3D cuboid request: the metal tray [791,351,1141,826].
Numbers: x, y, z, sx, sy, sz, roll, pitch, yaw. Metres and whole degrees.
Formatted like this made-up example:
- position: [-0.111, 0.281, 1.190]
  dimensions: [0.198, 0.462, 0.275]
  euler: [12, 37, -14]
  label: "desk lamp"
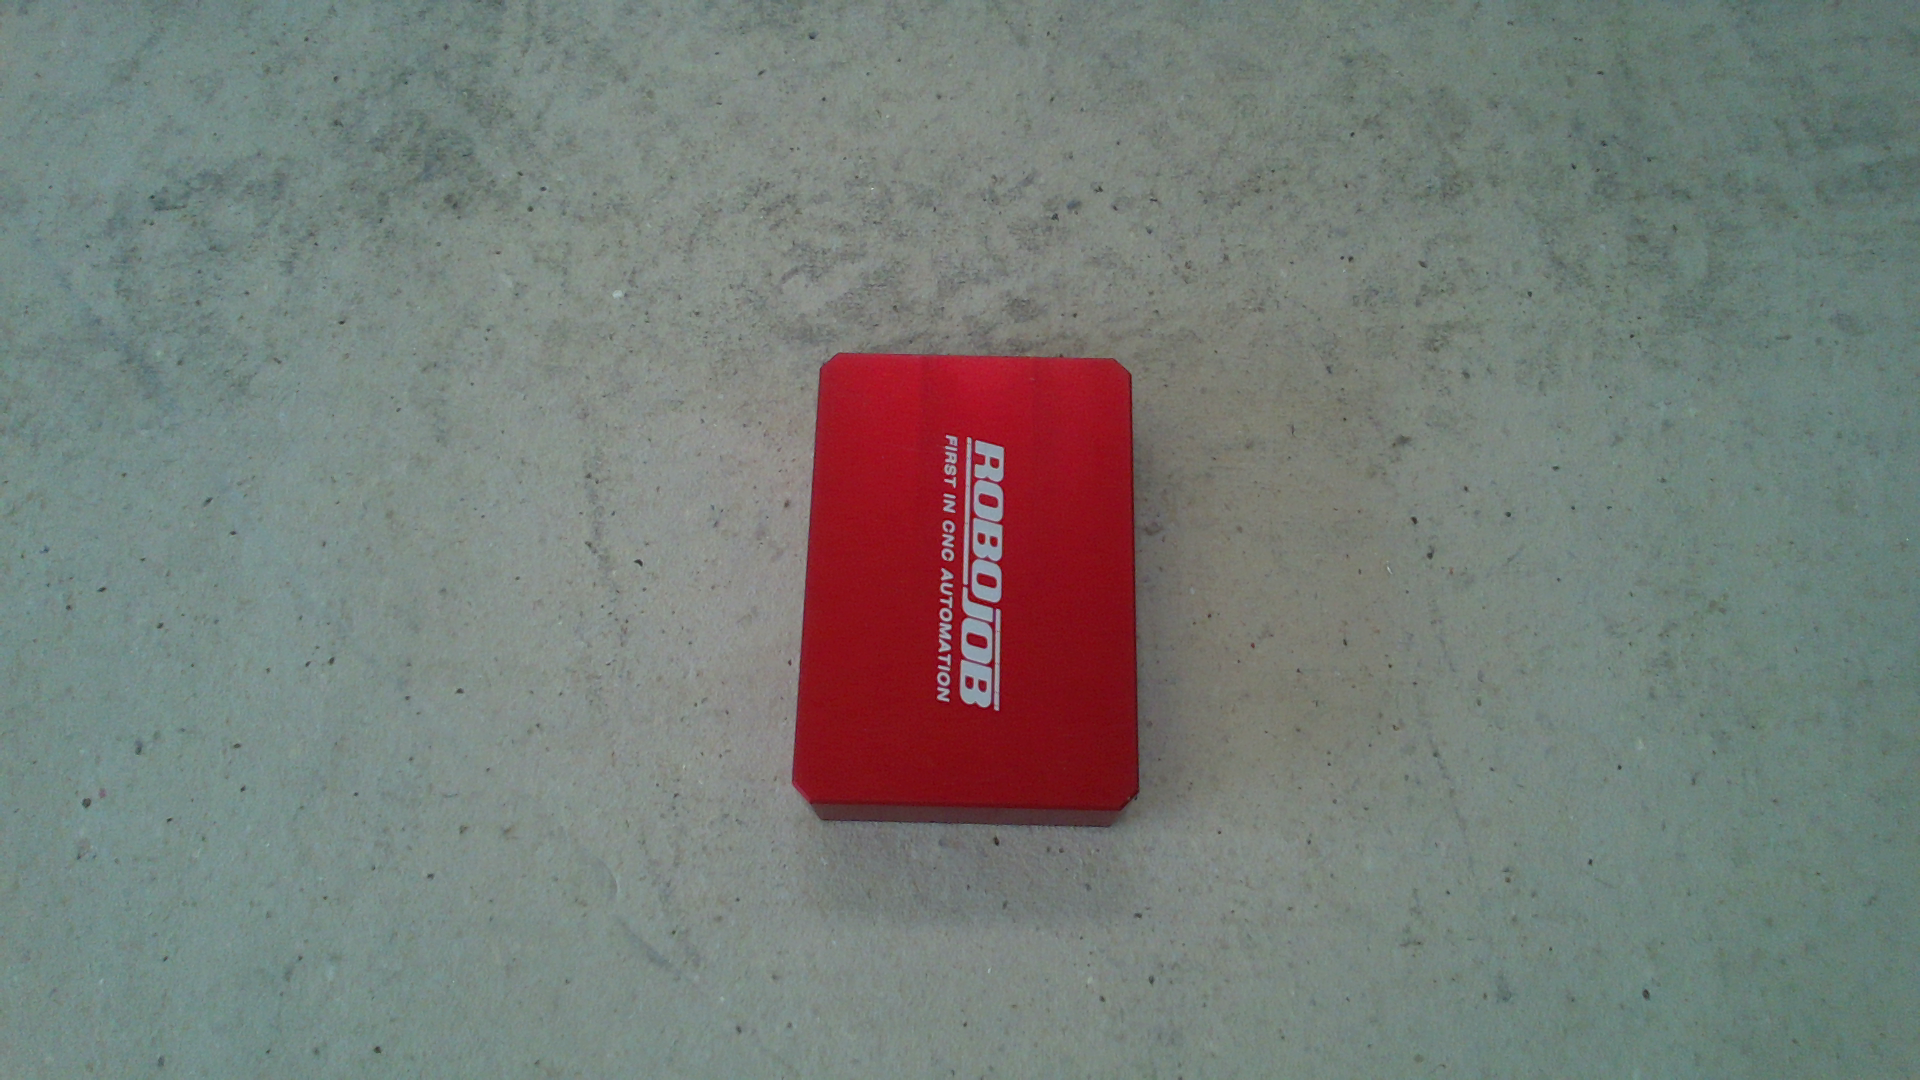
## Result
- position: [0.003, 0.012, 0.387]
  dimensions: [0.090, 0.030, 0.130]
  euler: [1, 70, 0]
  label: "metal tray"
